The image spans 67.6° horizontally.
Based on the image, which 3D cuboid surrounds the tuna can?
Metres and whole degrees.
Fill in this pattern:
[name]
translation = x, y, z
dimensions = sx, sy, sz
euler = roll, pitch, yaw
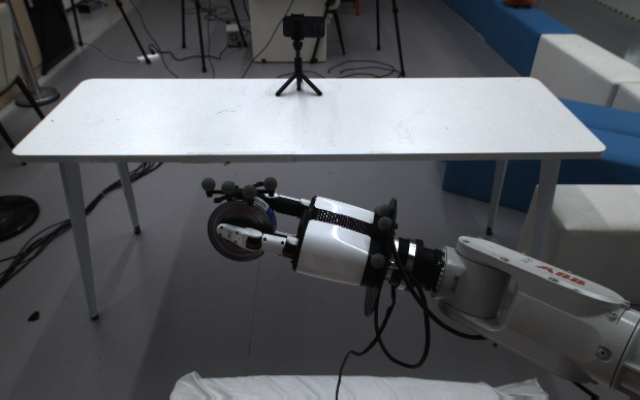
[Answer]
[tuna can]
translation = -0.095, 0.036, 0.632
dimensions = 0.085, 0.085, 0.034
euler = 4, 18, 3
